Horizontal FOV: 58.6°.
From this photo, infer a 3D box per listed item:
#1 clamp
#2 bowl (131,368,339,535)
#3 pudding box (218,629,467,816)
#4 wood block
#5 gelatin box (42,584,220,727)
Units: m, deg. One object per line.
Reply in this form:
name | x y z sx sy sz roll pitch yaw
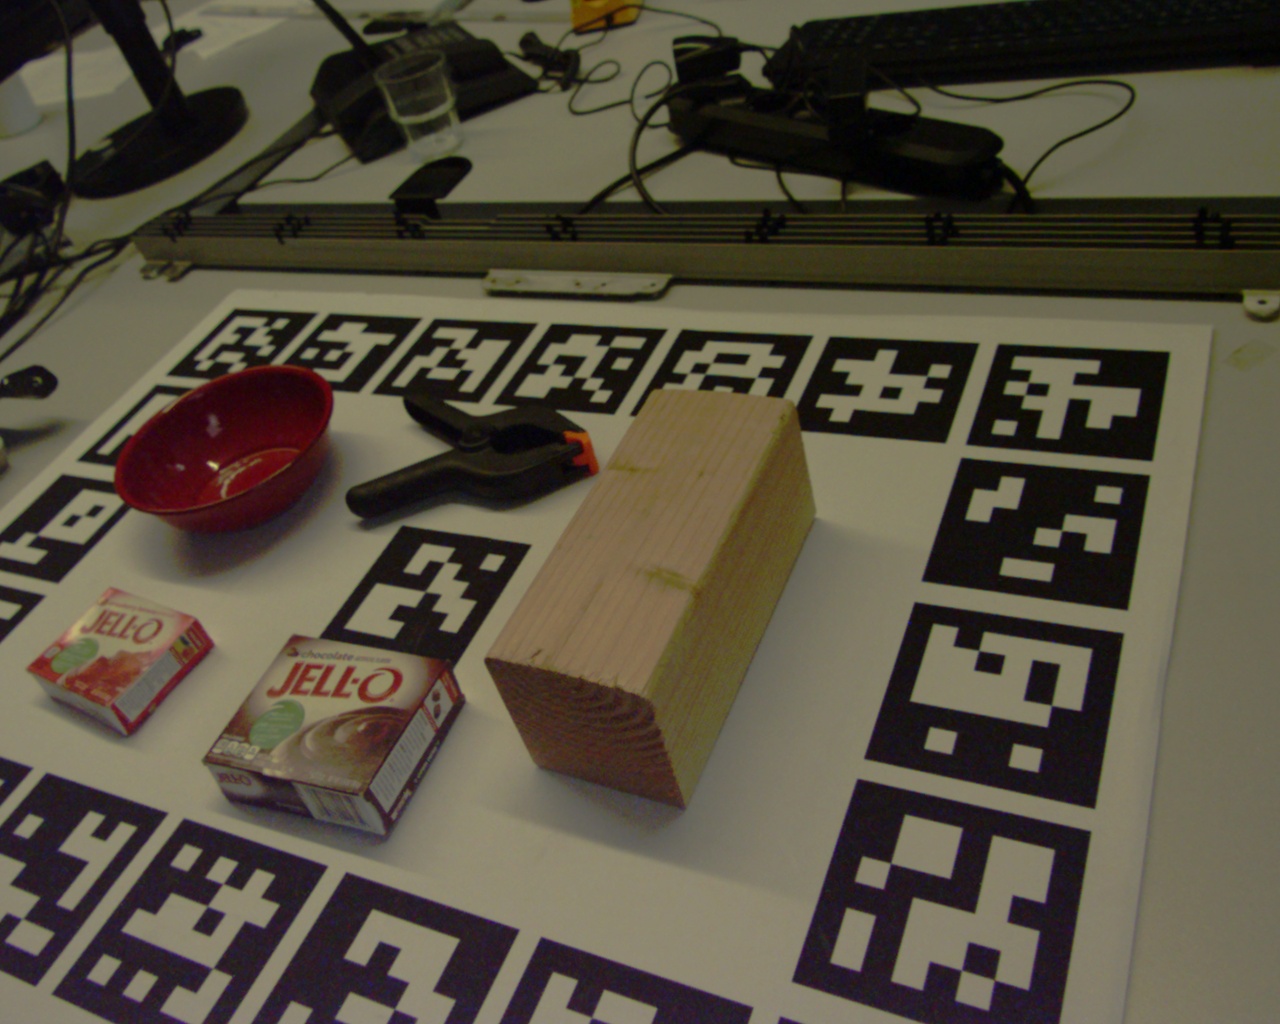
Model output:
clamp | -0.127 -0.040 0.812 0.166 0.036 0.122 0 45 17
bowl | -0.291 -0.036 0.851 0.162 0.055 0.162 -10 45 10
pudding box | -0.168 0.118 0.648 0.115 0.038 0.090 5 51 27
wood block | 0.012 0.035 0.630 0.091 0.090 0.205 9 49 26
gelatin box | -0.331 0.090 0.740 0.090 0.030 0.073 14 53 31
